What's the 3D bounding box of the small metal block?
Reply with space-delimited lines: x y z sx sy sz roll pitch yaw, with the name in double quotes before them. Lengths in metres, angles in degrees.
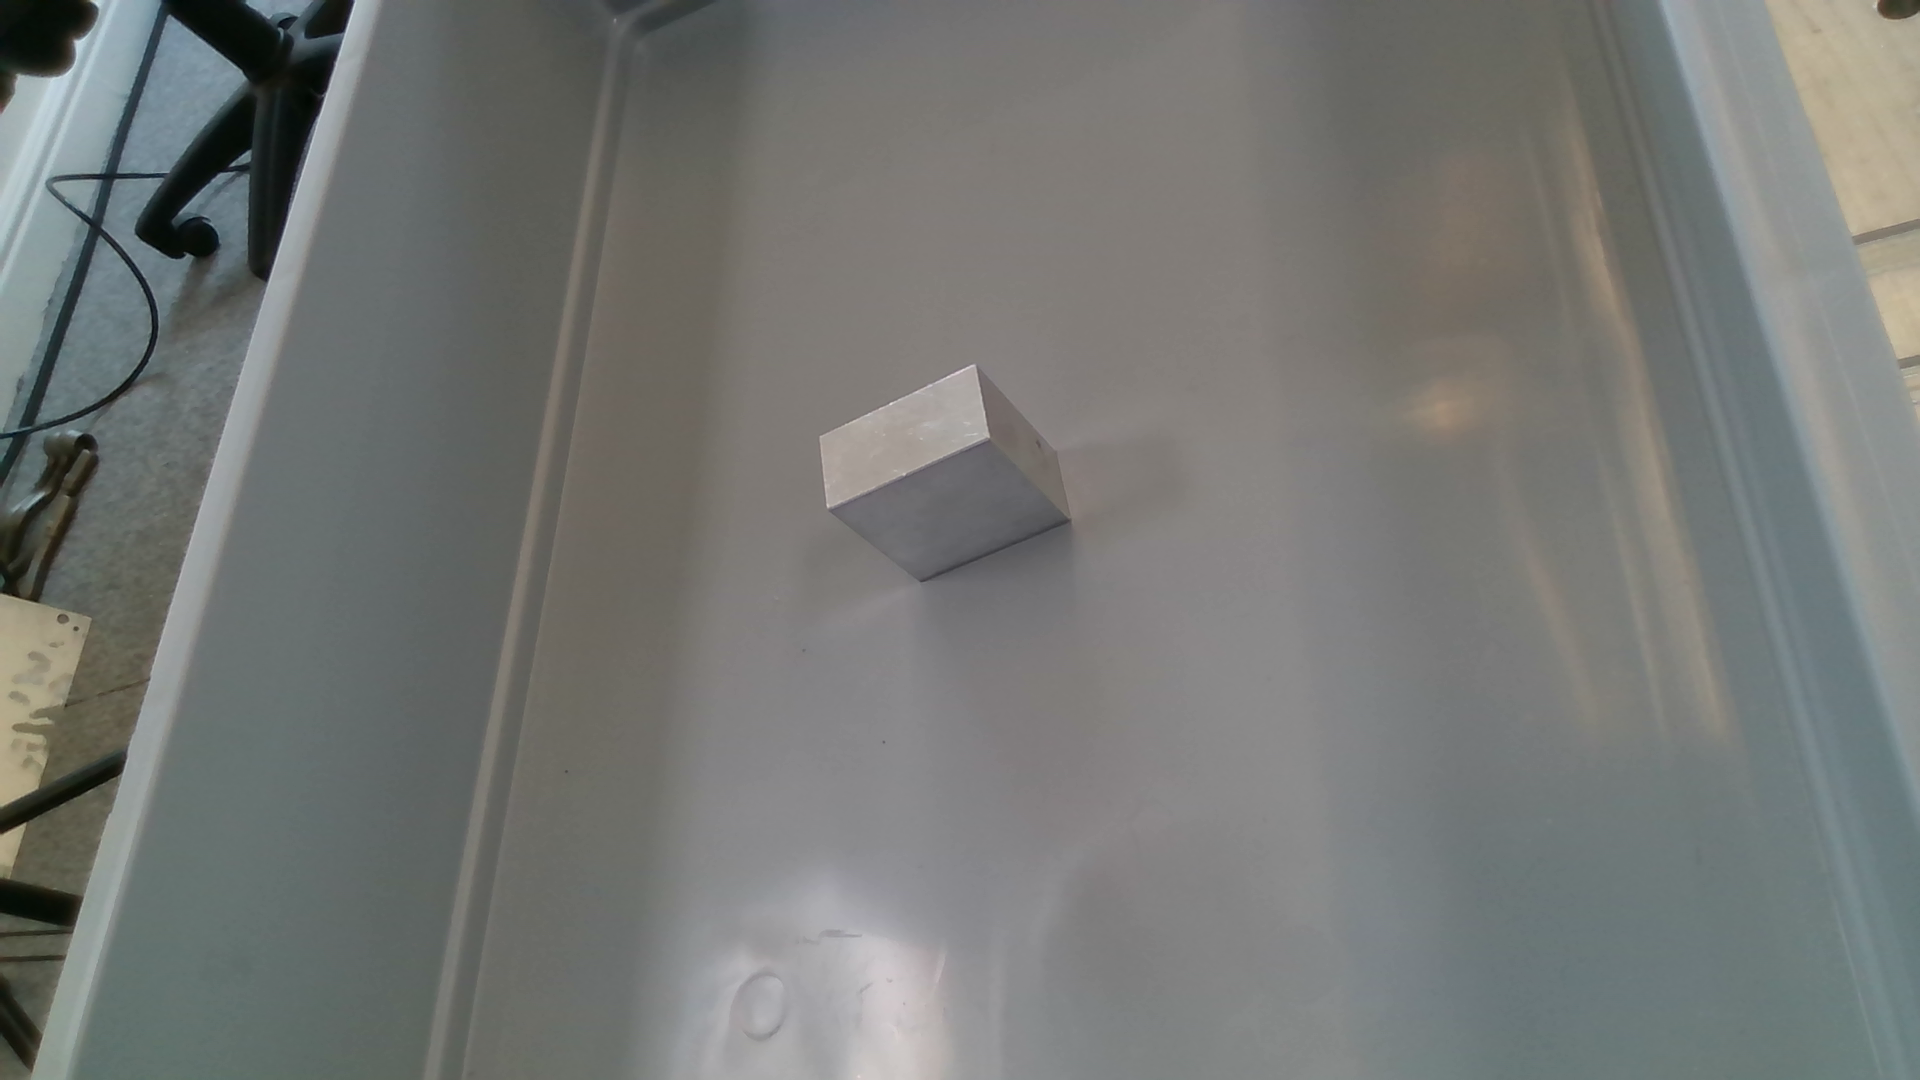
"small metal block" -0.004 -0.017 0.384 0.050 0.050 0.025 -22 56 20
